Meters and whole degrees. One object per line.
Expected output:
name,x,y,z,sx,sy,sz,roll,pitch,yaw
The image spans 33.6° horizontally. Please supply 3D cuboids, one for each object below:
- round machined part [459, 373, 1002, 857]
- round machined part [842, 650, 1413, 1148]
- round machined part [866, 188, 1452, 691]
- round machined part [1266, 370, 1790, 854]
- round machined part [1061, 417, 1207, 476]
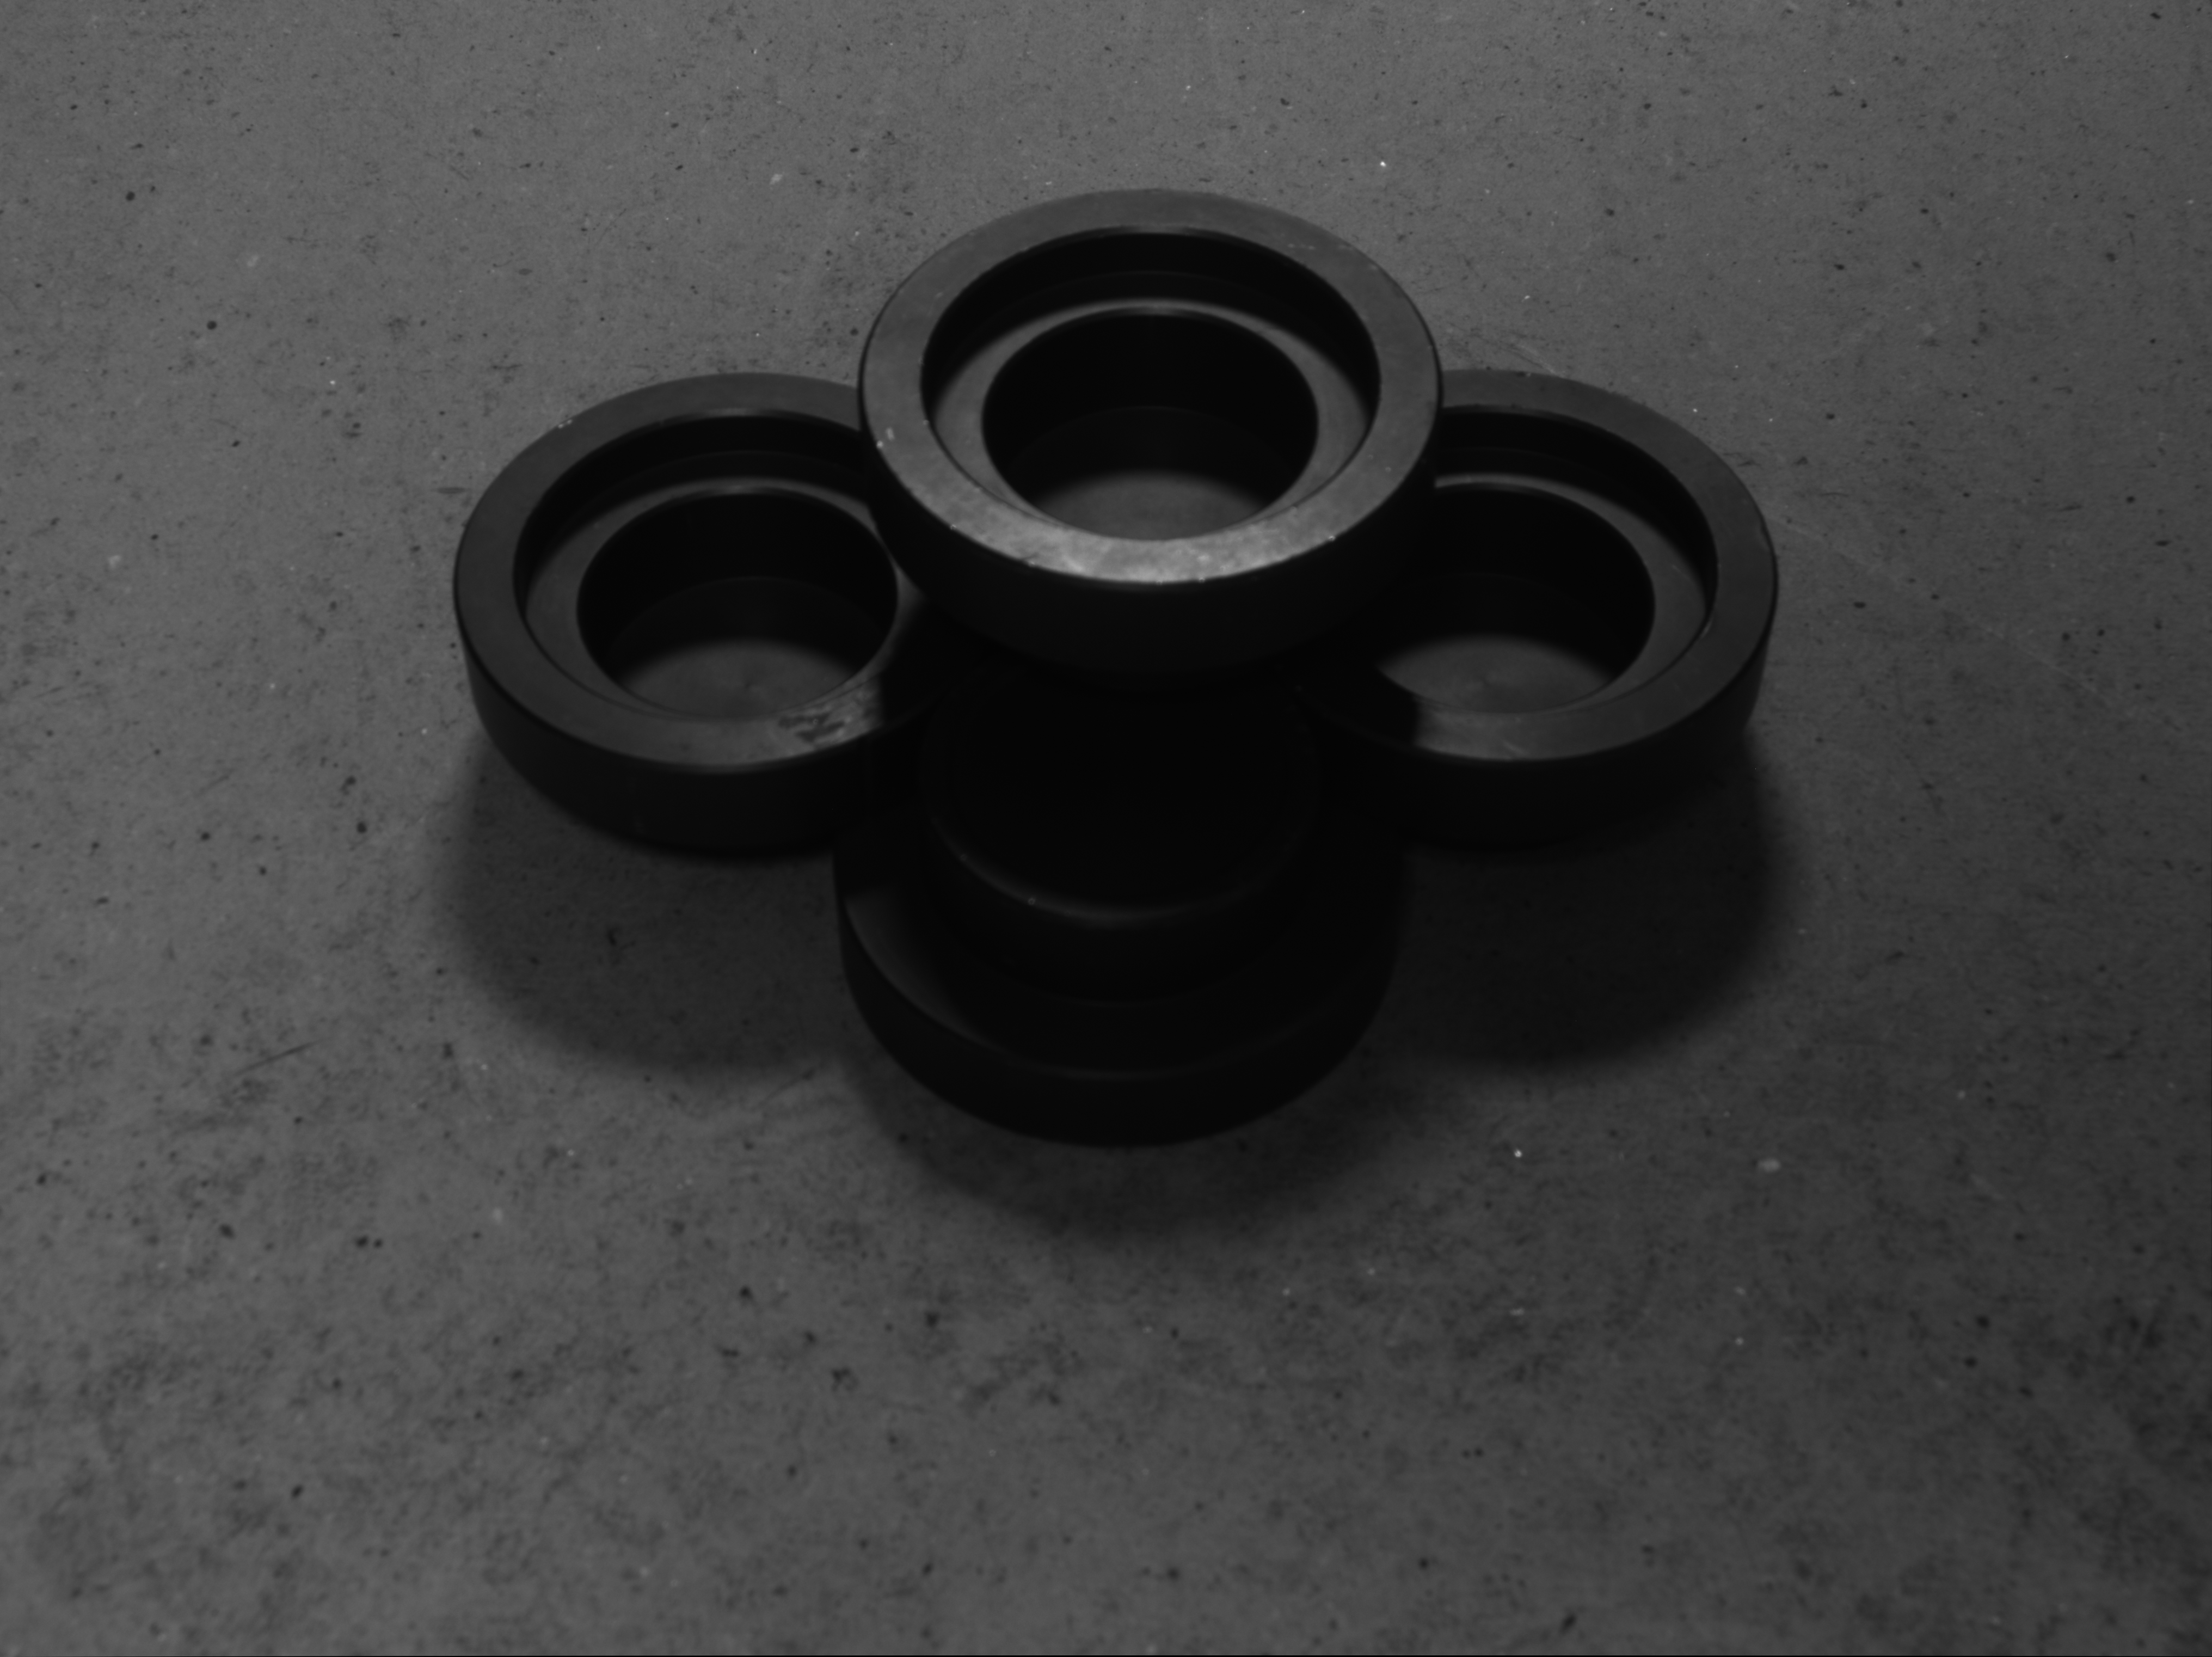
round machined part,-0.064,-0.034,0.660,0.098,0.042,0.098,0,50,0
round machined part,0.004,0.003,0.628,0.098,0.042,0.098,0,50,0
round machined part,0.009,-0.062,0.628,0.098,0.042,0.098,0,50,0
round machined part,0.071,-0.034,0.660,0.098,0.042,0.098,0,50,0
round machined part,0.005,-0.073,0.692,0.098,0.042,0.098,0,50,0
